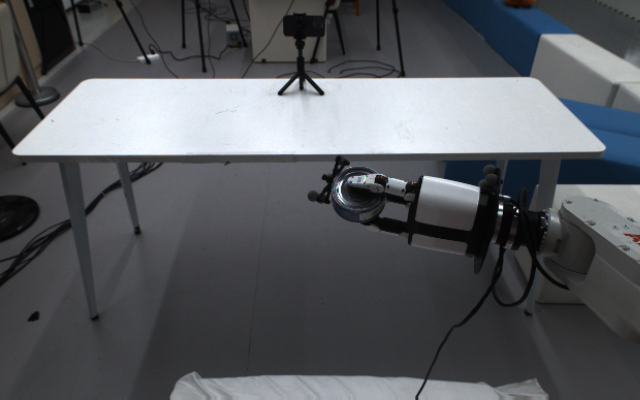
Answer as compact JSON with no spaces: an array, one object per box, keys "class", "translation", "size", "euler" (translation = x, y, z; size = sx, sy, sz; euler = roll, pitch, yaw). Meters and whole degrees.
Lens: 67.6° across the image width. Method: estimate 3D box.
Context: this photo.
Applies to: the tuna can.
[{"class":"tuna can","translation":[0.062,-0.010,0.751],"size":[0.085,0.034,0.085],"euler":[-1,61,1]}]
